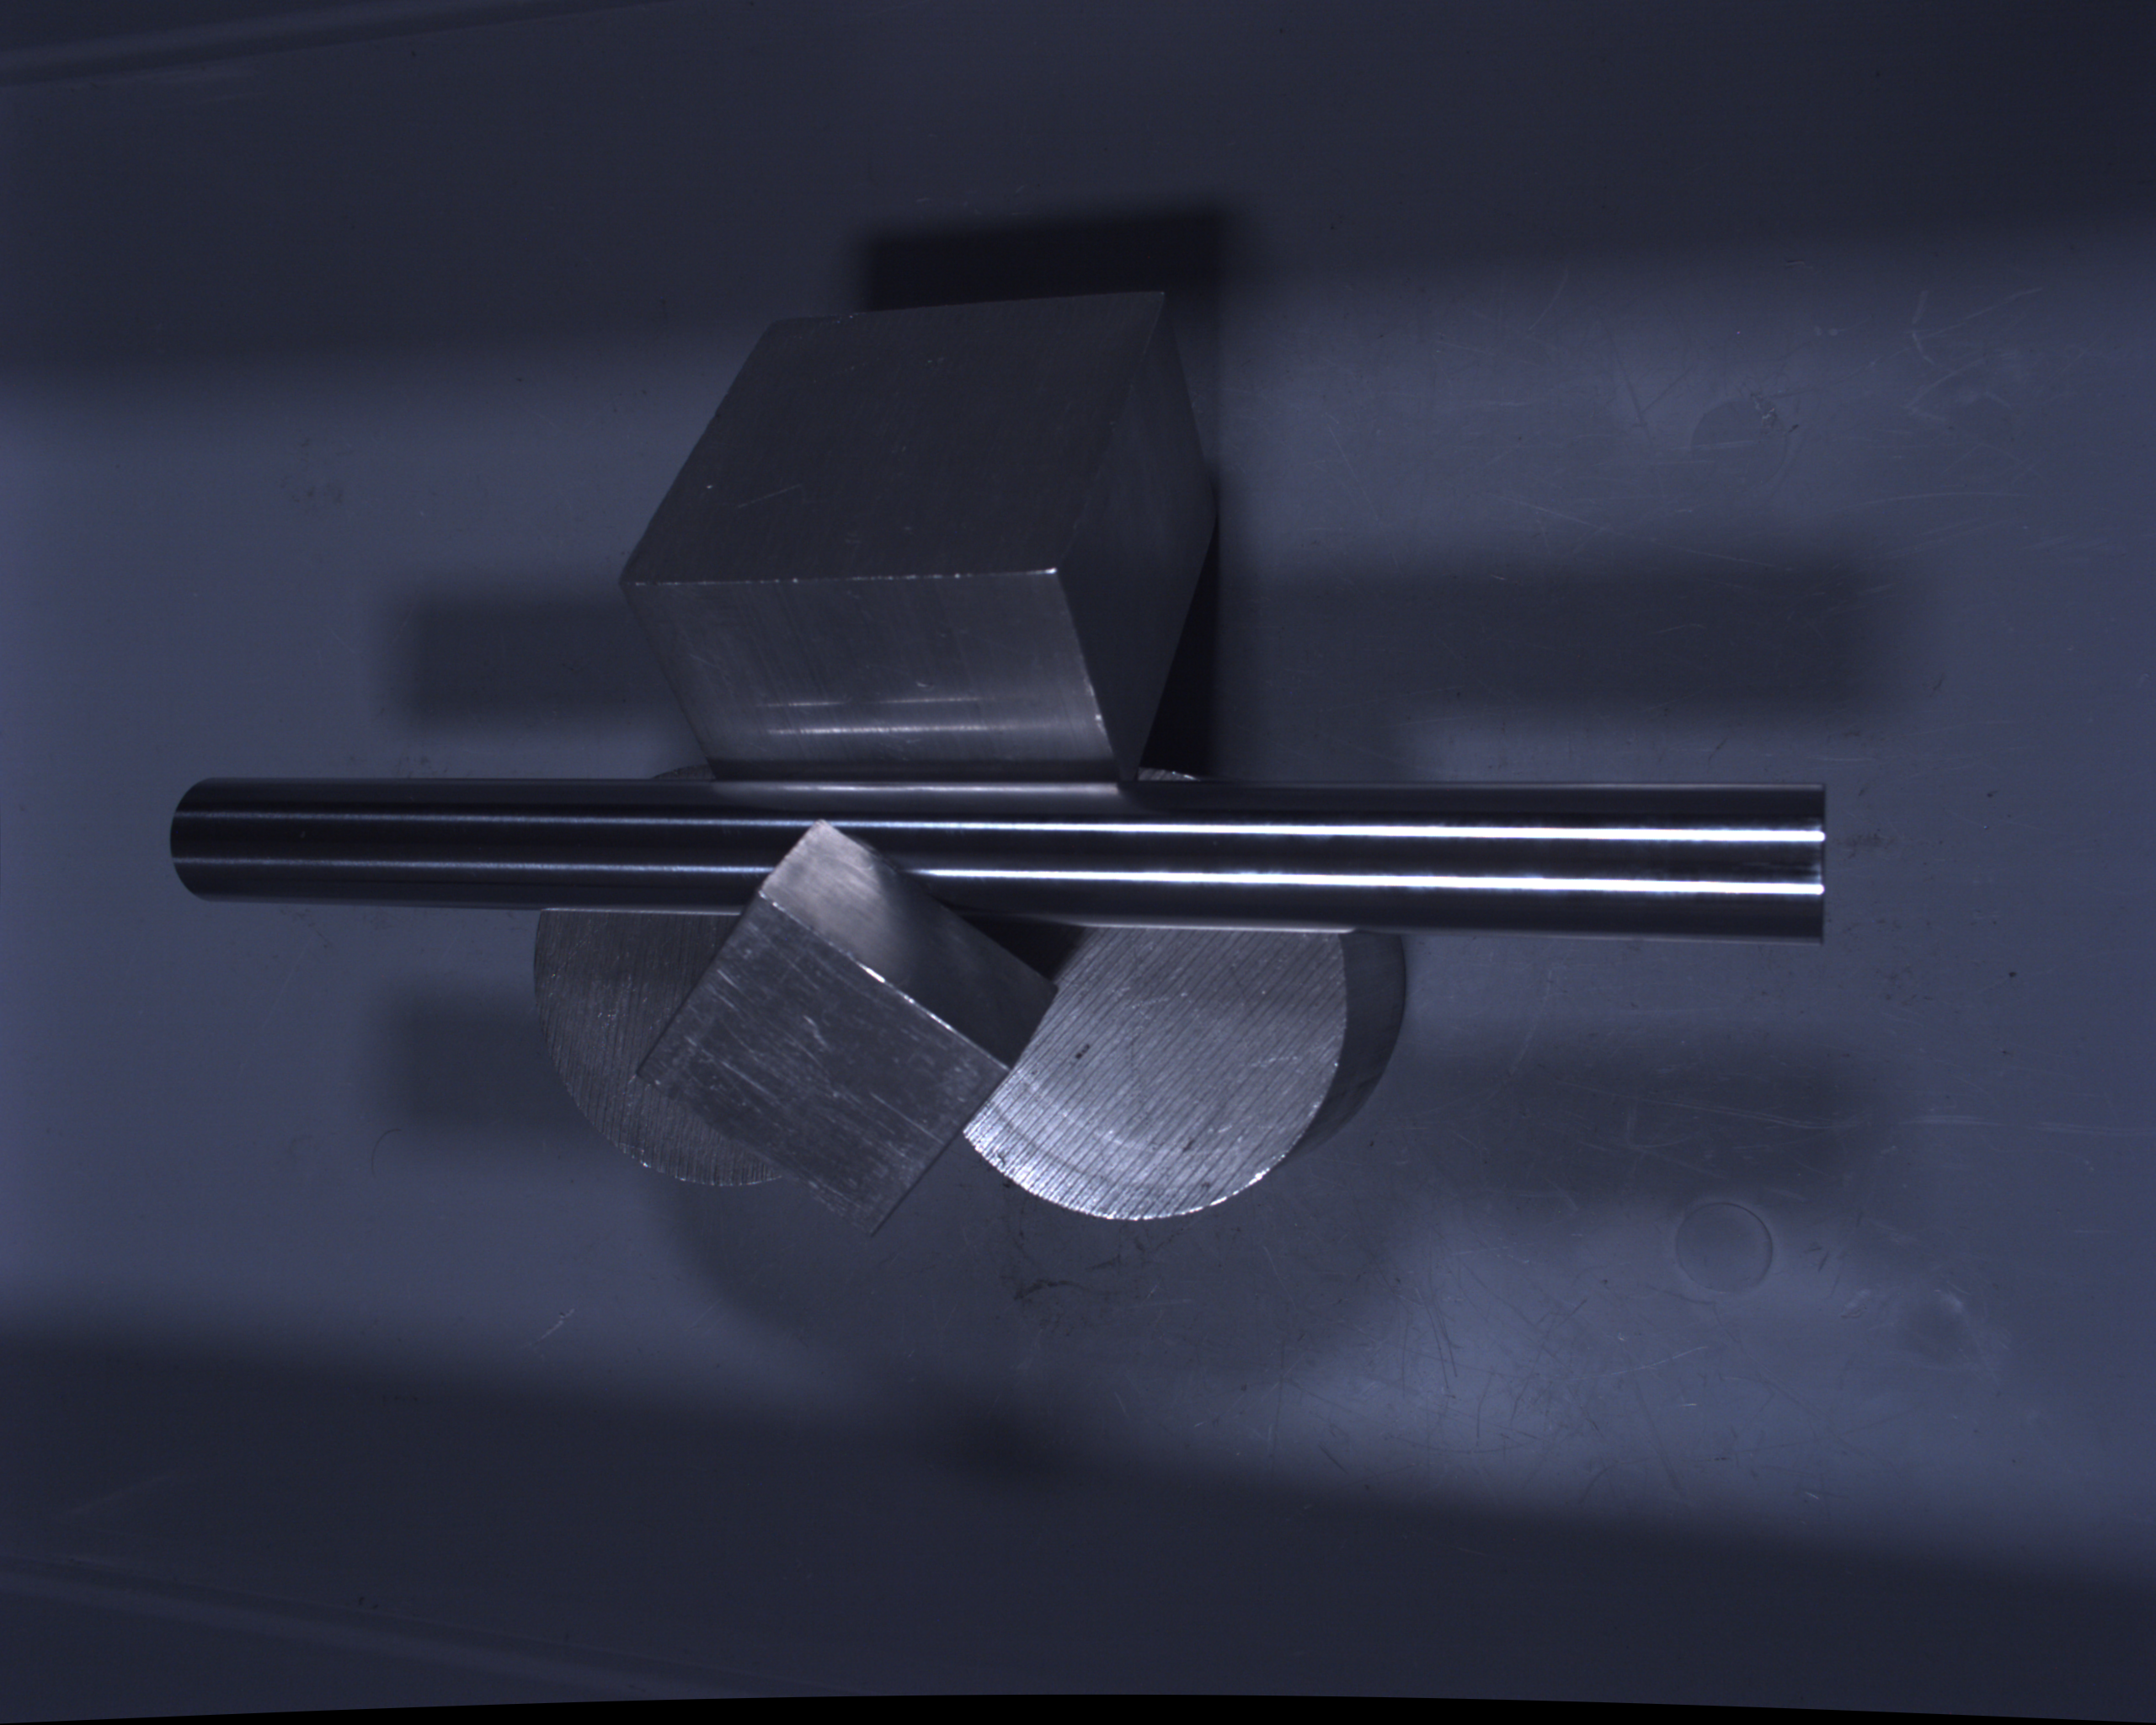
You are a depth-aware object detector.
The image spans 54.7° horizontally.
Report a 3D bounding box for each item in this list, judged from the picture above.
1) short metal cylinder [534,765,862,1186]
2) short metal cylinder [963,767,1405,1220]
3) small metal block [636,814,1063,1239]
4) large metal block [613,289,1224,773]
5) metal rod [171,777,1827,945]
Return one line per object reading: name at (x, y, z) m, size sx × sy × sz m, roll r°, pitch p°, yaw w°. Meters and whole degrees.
short metal cylinder at (-0.059, 0.021, 0.416) m, size 0.080 × 0.050 × 0.079 m, roll 0°, pitch 90°, yaw 19°
short metal cylinder at (0.016, 0.023, 0.389) m, size 0.080 × 0.050 × 0.079 m, roll 0°, pitch 90°, yaw 19°
small metal block at (-0.039, 0.029, 0.357) m, size 0.050 × 0.025 × 0.050 m, roll 36°, pitch 124°, yaw -3°
large metal block at (-0.025, -0.058, 0.382) m, size 0.080 × 0.050 × 0.080 m, roll 1°, pitch 47°, yaw 19°
metal rod at (-0.029, -0.002, 0.365) m, size 0.301 × 0.025 × 0.025 m, roll 1°, pitch 90°, yaw 19°
